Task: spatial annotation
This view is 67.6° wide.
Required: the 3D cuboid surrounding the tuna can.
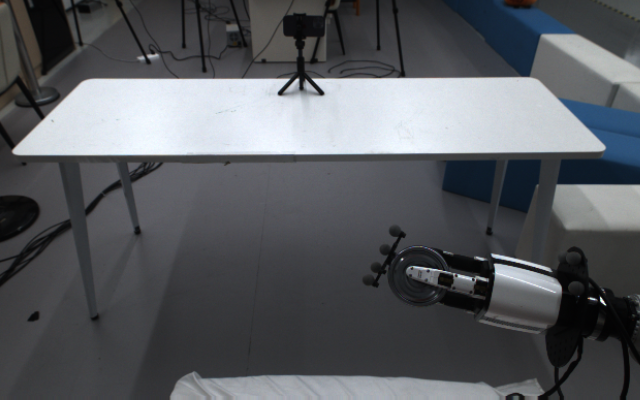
[{"bbox_3d":[0.141,0.104,0.678,0.085,0.085,0.034,9,-5,10],"label":"tuna can"}]
